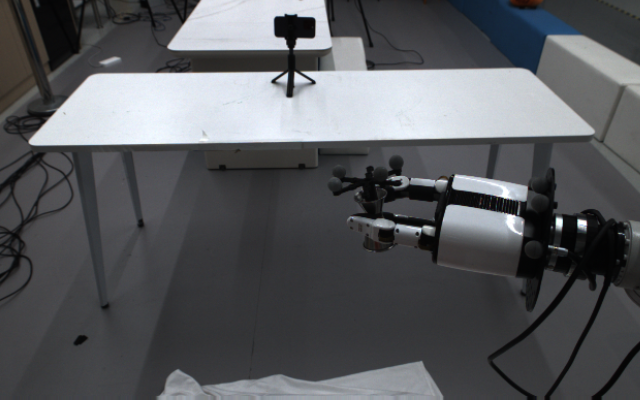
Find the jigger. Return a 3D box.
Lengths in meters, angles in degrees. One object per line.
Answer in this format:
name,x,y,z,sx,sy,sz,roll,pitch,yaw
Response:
jigger,0.068,0.023,0.591,0.043,0.071,0.043,-12,24,5
